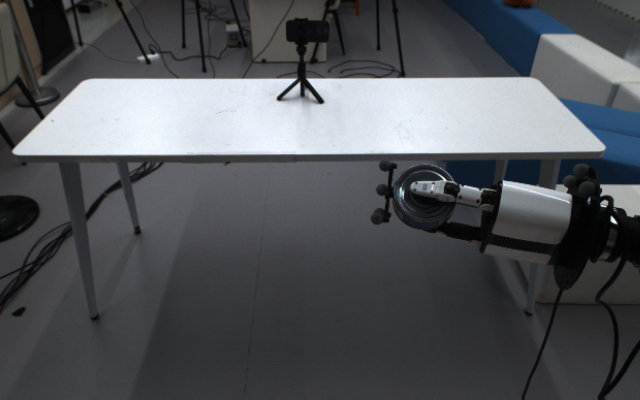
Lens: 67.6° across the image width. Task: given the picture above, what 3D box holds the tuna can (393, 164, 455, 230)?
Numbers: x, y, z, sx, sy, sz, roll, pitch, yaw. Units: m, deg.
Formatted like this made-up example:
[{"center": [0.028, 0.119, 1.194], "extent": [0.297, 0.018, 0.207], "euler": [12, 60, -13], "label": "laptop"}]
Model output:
[{"center": [0.144, -0.007, 0.657], "extent": [0.085, 0.034, 0.085], "euler": [-2, 68, 6], "label": "tuna can"}]
